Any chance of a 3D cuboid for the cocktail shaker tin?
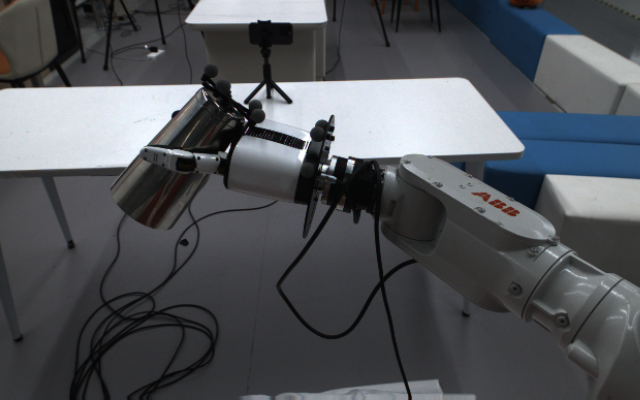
[{"bbox_3d":[-0.171,-0.058,0.606,0.093,0.170,0.093,41,13,-11],"label":"cocktail shaker tin"}]
